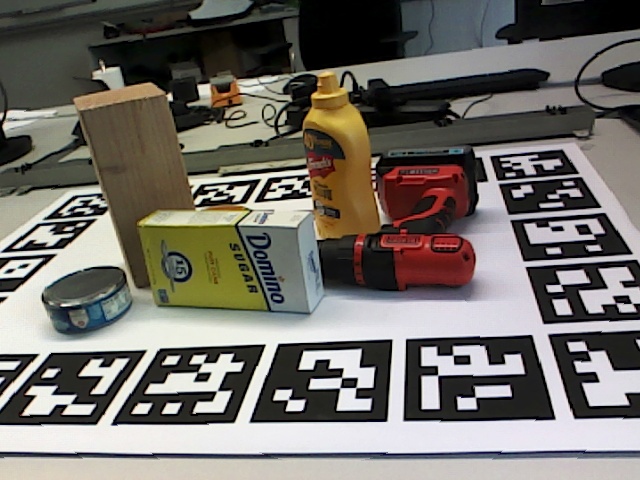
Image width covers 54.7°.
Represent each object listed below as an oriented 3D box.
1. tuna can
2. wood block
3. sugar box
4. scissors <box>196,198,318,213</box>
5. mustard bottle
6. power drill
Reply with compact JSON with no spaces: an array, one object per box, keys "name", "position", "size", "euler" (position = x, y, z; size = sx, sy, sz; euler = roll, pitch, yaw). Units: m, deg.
[{"name":"tuna can","position":[-0.241,0.059,0.657],"size":[0.086,0.033,0.086],"euler":[-8,28,4]},{"name":"wood block","position":[-0.197,-0.060,0.709],"size":[0.091,0.205,0.090],"euler":[-18,29,-14]},{"name":"sugar box","position":[-0.082,0.021,0.619],"size":[0.177,0.092,0.045],"euler":[3,27,21]},{"name":"scissors","position":[-0.092,-0.040,0.817],"size":[0.203,0.016,0.088],"euler":[-4,24,14]},{"name":"mustard bottle","position":[0.023,-0.090,0.700],"size":[0.058,0.191,0.097],"euler":[-25,31,-24]},{"name":"power drill","position":[0.072,-0.018,0.672],"size":[0.185,0.057,0.187],"euler":[2,37,23]}]
